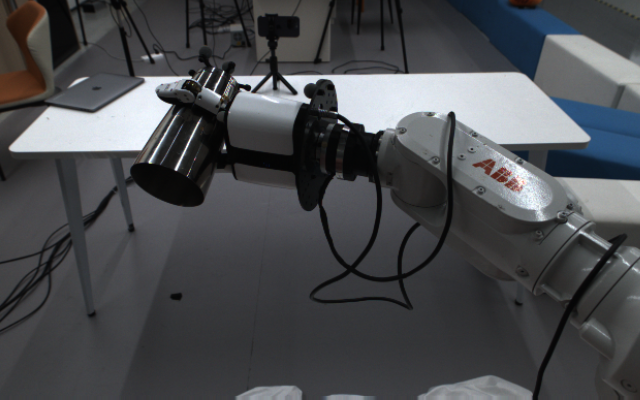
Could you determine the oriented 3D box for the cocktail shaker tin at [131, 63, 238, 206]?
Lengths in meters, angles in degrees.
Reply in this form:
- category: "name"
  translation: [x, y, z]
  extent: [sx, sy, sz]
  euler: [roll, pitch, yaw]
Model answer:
- category: "cocktail shaker tin"
  translation: [-0.160, -0.086, 0.614]
  extent: [0.093, 0.093, 0.170]
  euler: [10, 60, 11]
